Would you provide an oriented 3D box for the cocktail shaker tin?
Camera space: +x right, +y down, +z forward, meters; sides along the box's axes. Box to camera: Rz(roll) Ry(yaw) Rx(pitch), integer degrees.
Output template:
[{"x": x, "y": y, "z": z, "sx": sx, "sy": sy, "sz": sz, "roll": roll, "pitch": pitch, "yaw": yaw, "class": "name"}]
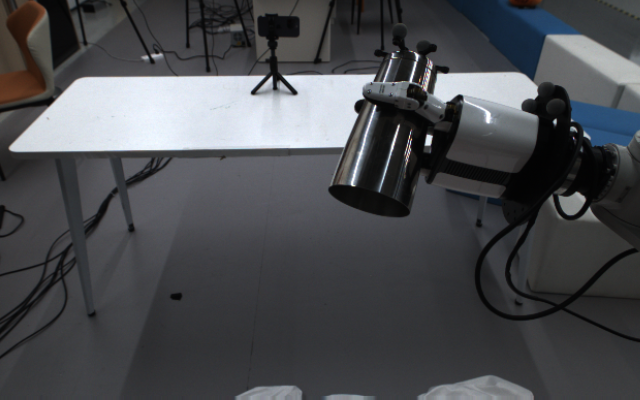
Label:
[{"x": 0.080, "y": -0.076, "z": 0.541, "sx": 0.093, "sy": 0.093, "sz": 0.170, "roll": 14, "pitch": 76, "yaw": 17, "class": "cocktail shaker tin"}]
